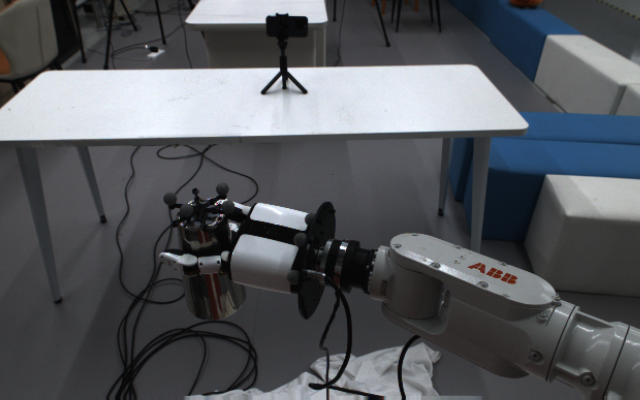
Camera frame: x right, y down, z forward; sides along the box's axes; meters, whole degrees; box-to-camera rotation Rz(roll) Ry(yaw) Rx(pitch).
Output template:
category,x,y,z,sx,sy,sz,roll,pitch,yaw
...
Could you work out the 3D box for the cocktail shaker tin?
category,x,y,z,sx,sy,sz,roll,pitch,yaw
cocktail shaker tin,-0.157,0.082,0.702,0.093,0.170,0.093,1,40,0
